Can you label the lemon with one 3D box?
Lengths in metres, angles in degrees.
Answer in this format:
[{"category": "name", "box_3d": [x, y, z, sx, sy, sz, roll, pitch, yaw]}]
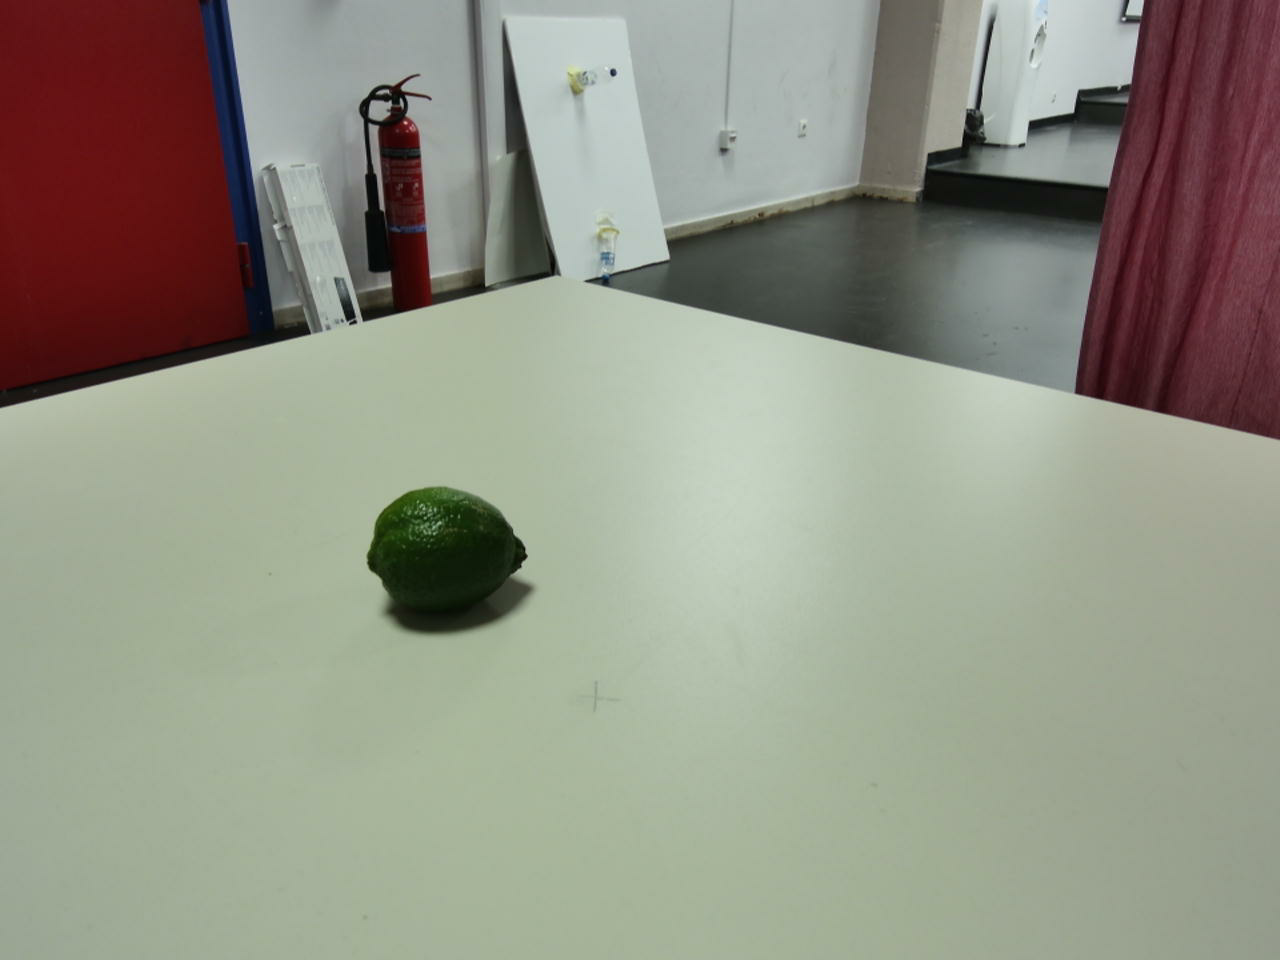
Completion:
[{"category": "lemon", "box_3d": [-0.081, 0.027, 0.406, 0.054, 0.051, 0.057, 15, 27, 32]}]
